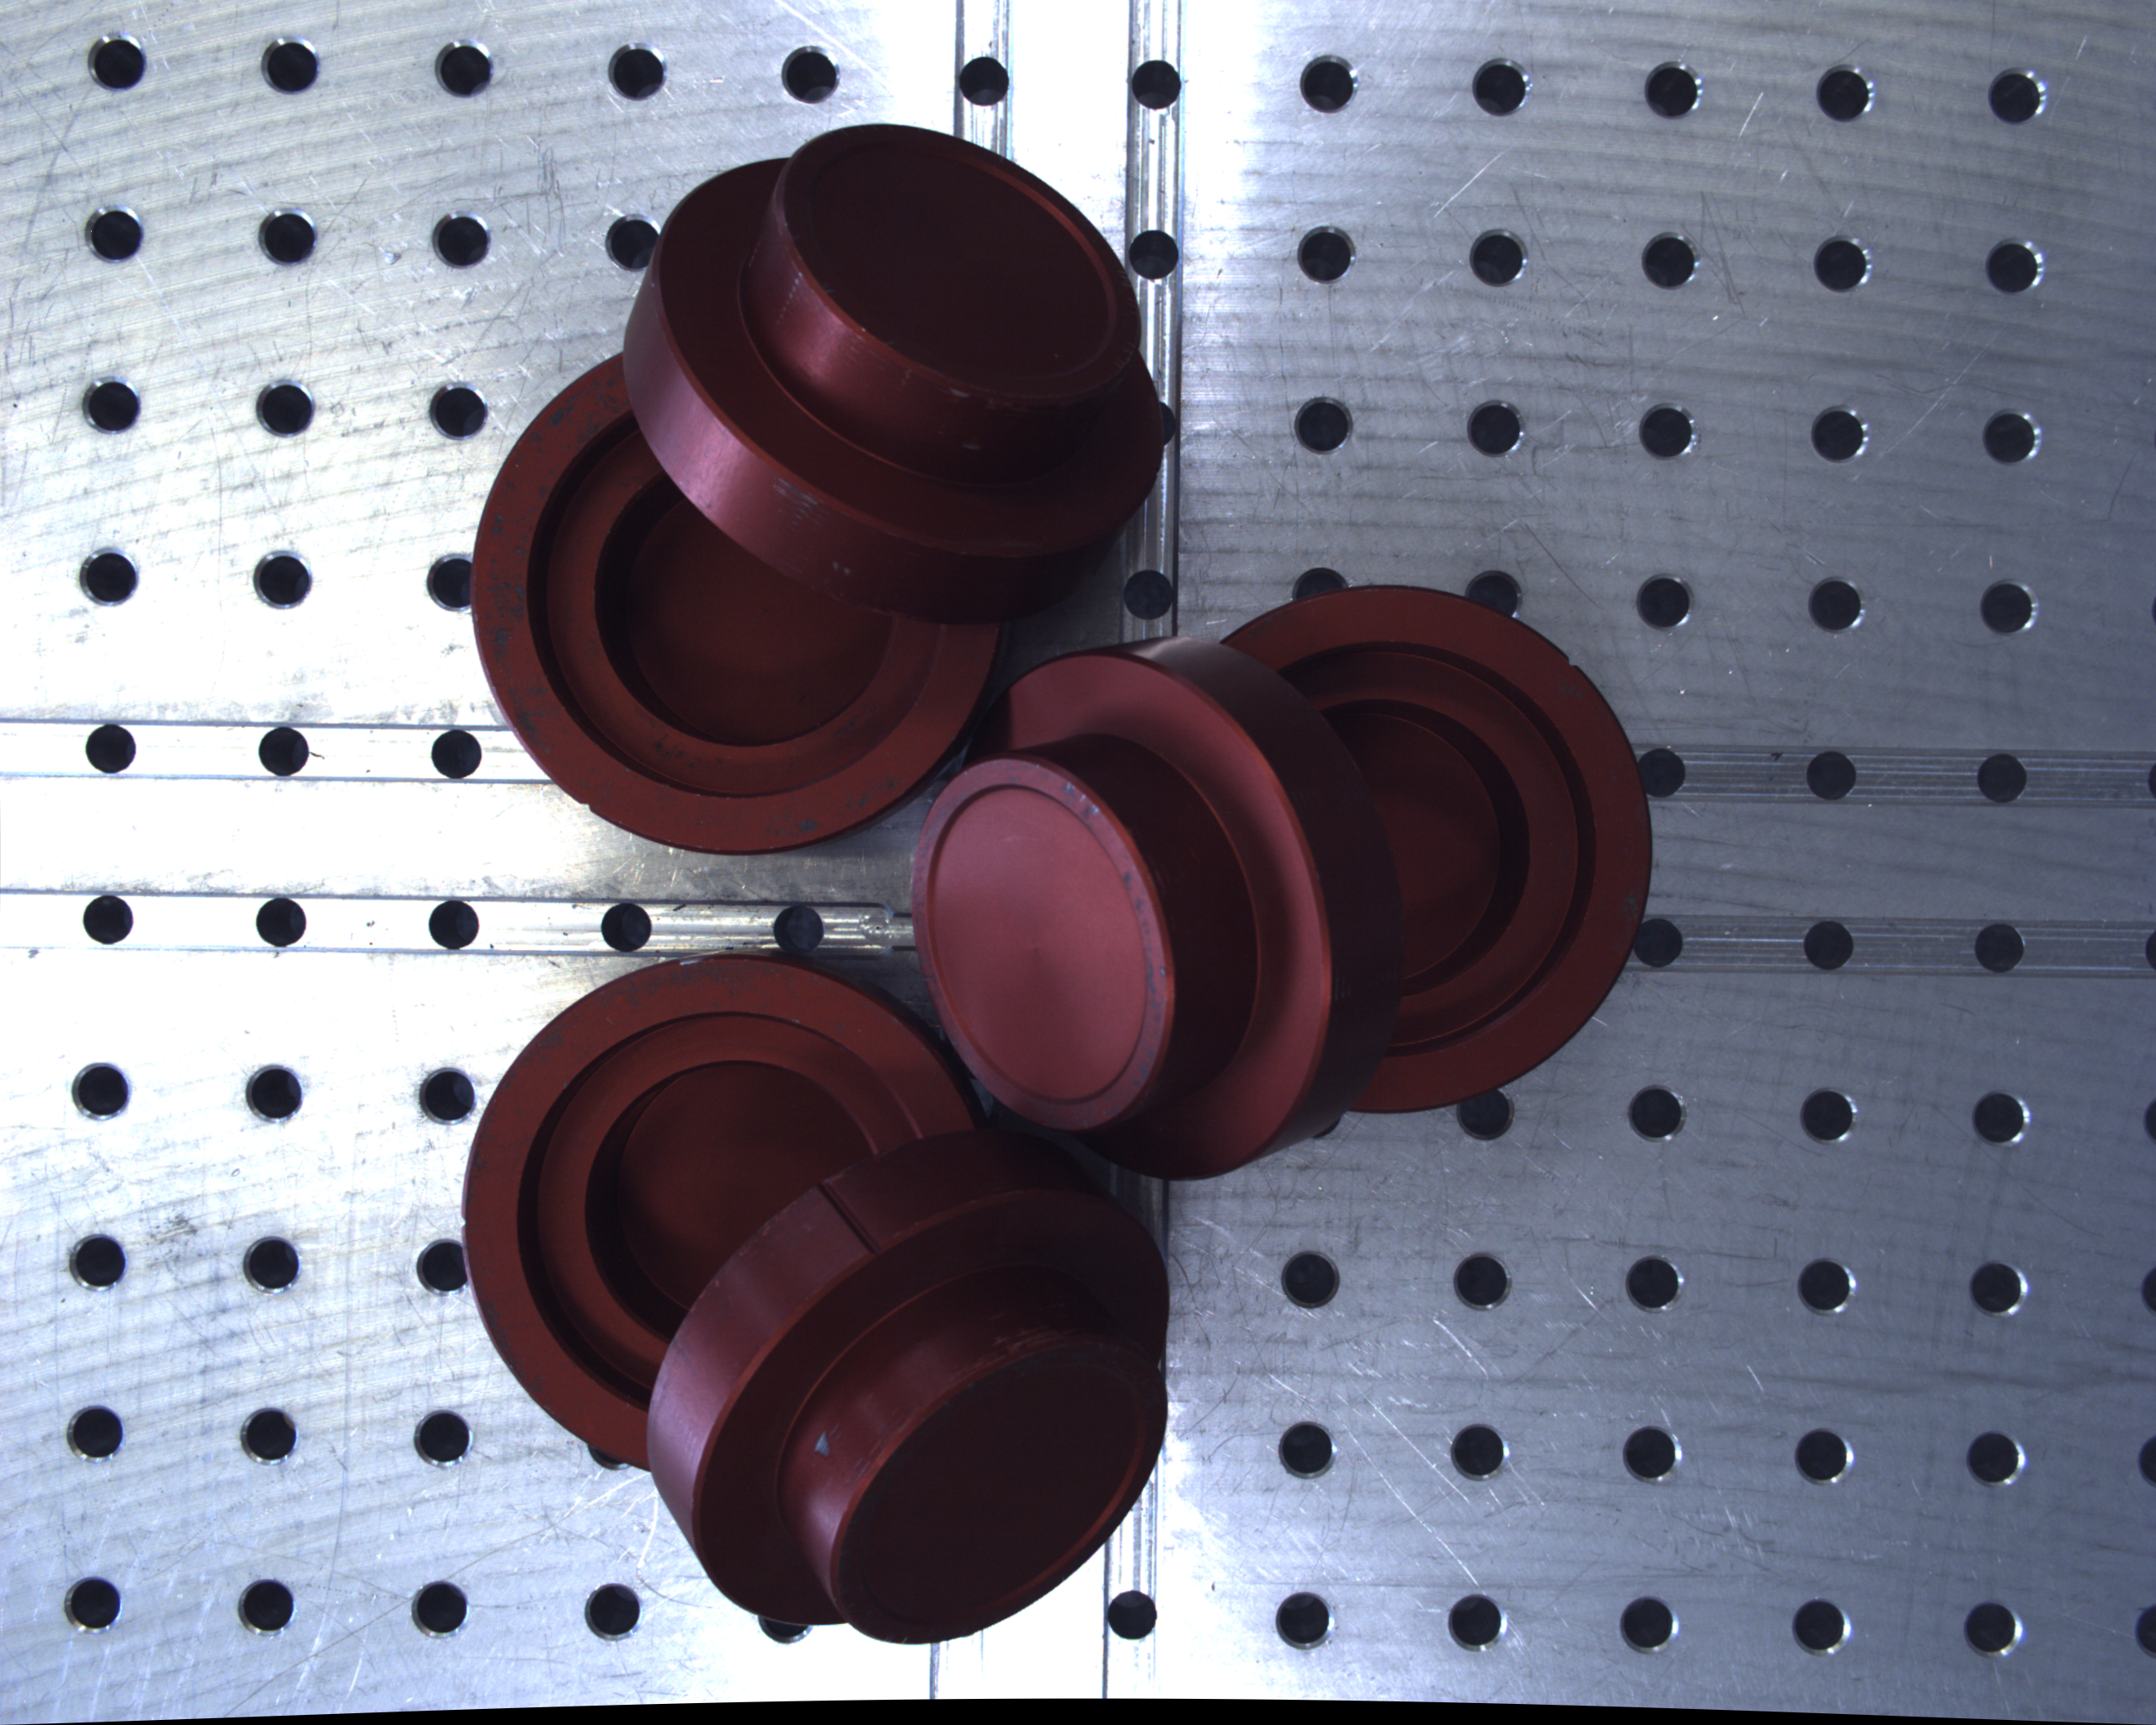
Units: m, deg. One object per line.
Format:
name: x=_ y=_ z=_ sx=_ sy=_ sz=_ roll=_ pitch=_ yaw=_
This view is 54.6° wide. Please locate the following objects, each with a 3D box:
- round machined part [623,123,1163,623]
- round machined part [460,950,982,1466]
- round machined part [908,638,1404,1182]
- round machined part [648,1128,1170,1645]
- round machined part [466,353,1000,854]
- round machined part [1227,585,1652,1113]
round machined part: x=-0.028 y=-0.094 z=0.377 sx=0.099 sy=0.042 sz=0.098 roll=16 pitch=49 yaw=-20
round machined part: x=-0.064 y=0.065 z=0.404 sx=0.099 sy=0.042 sz=0.097 roll=0 pitch=90 yaw=0
round machined part: x=0.007 y=0.010 z=0.375 sx=0.042 sy=0.098 sz=0.098 roll=-14 pitch=90 yaw=-42
round machined part: x=-0.023 y=0.100 z=0.376 sx=0.099 sy=0.042 sz=0.097 roll=-20 pitch=128 yaw=-27
round machined part: x=-0.063 y=-0.050 z=0.403 sx=0.099 sy=0.042 sz=0.097 roll=0 pitch=90 yaw=0
round machined part: x=0.057 y=-0.003 z=0.405 sx=0.099 sy=0.042 sz=0.097 roll=0 pitch=90 yaw=0
